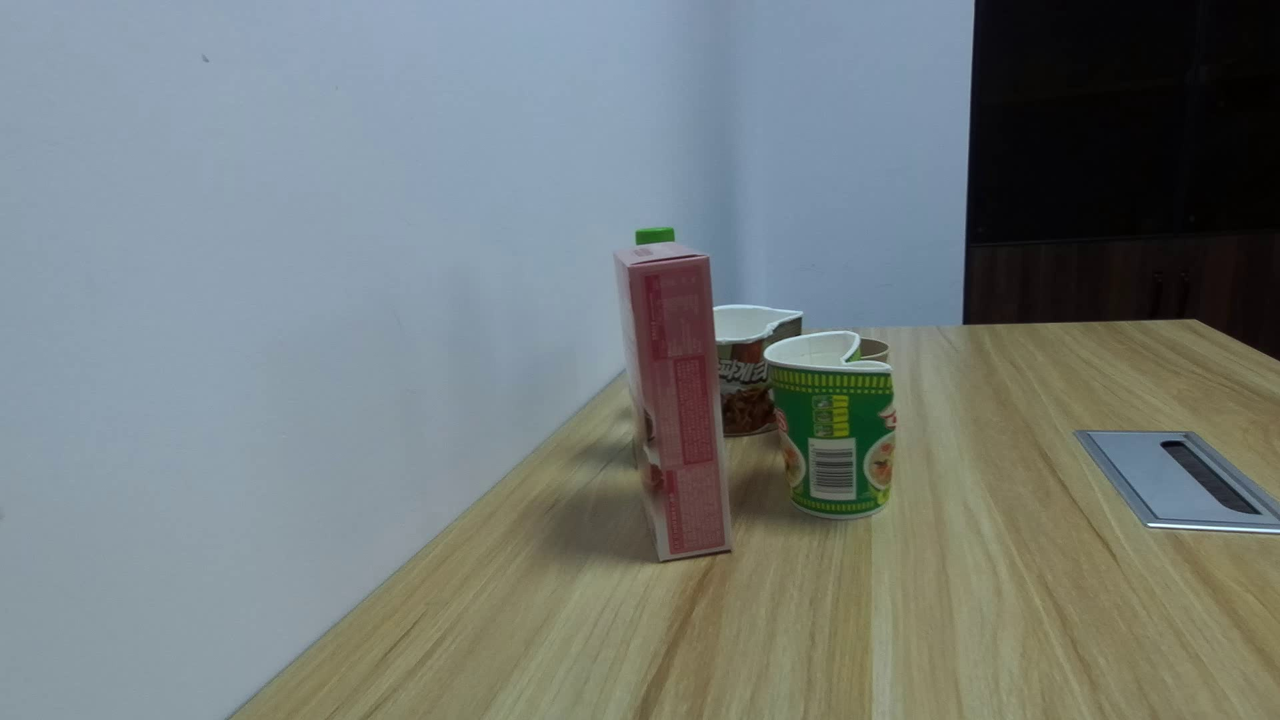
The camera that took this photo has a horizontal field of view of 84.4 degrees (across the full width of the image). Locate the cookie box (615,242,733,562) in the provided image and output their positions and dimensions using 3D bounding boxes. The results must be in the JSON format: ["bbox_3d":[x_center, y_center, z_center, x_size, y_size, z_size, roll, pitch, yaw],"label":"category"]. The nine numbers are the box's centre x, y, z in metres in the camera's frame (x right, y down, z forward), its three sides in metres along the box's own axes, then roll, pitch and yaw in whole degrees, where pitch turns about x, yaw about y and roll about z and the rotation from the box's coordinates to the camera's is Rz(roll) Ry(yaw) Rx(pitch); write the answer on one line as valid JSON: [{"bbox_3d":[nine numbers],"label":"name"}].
[{"bbox_3d":[0.022,0.023,0.450,0.048,0.184,0.096,-7,15,-4],"label":"cookie box"}]

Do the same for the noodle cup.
[{"bbox_3d":[0.131,0.043,0.478,0.086,0.109,0.094,2,17,24],"label":"noodle cup"}]
